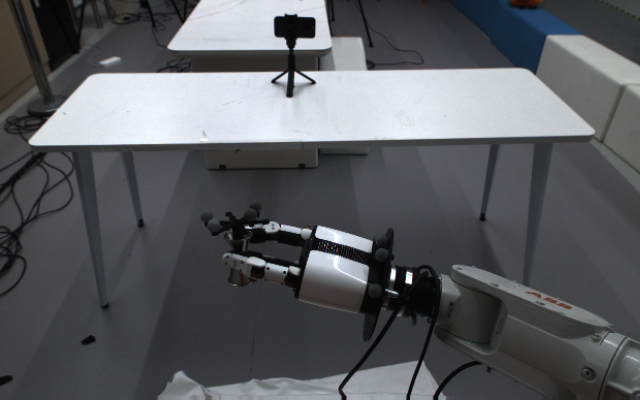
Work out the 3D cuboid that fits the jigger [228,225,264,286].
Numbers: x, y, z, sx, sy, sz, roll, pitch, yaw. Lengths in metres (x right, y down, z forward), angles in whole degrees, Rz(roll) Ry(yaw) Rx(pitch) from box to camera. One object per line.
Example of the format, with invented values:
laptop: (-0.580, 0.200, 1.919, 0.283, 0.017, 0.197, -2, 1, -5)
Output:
jigger: (-0.109, 0.079, 0.669, 0.043, 0.071, 0.043, -2, 19, 1)
